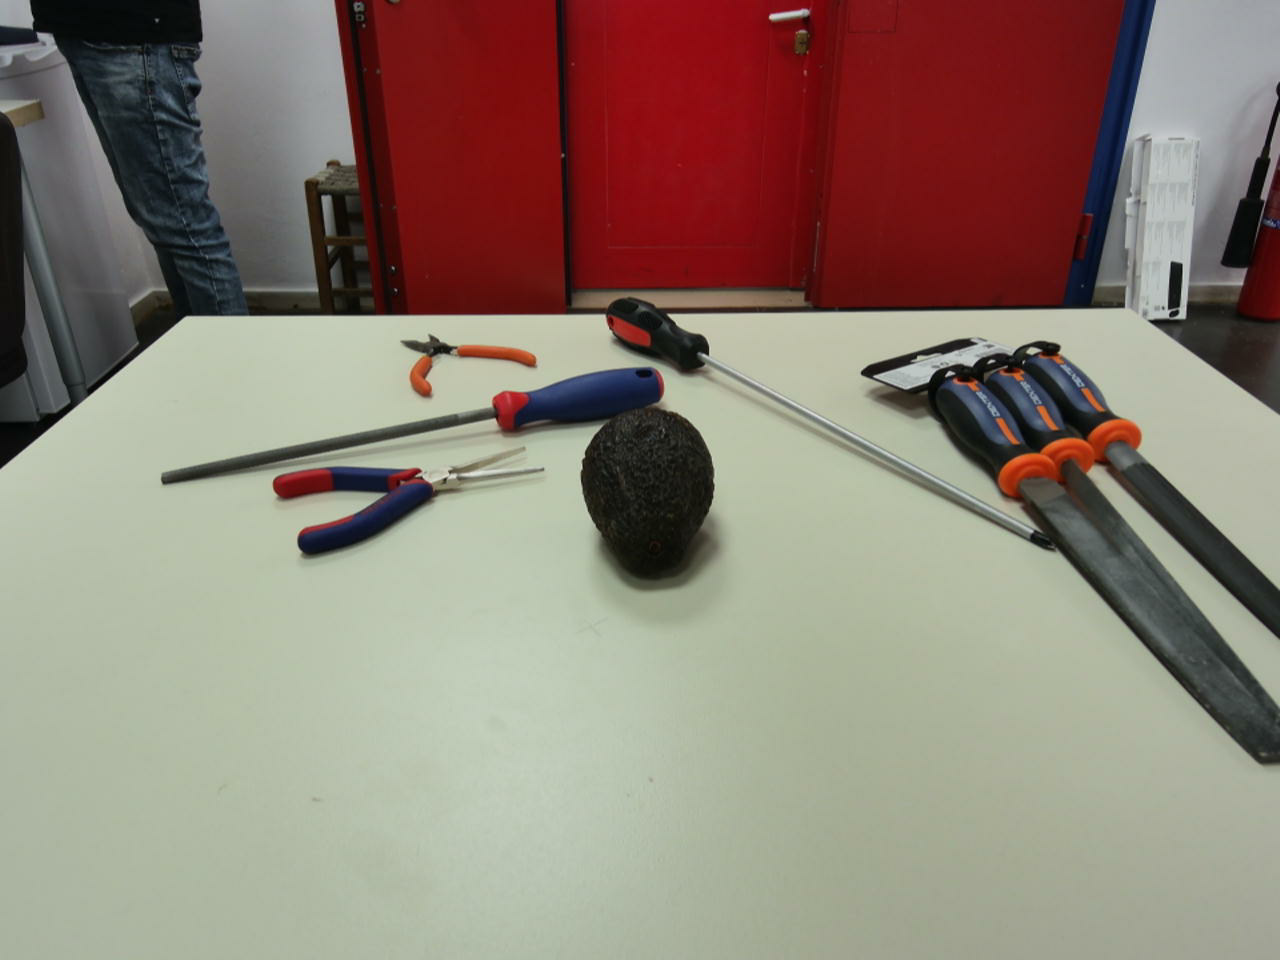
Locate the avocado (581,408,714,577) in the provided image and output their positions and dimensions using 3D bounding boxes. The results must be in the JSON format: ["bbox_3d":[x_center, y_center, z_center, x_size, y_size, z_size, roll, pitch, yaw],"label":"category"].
[{"bbox_3d":[0.002,0.001,0.512,0.070,0.069,0.090,11,28,22],"label":"avocado"}]
